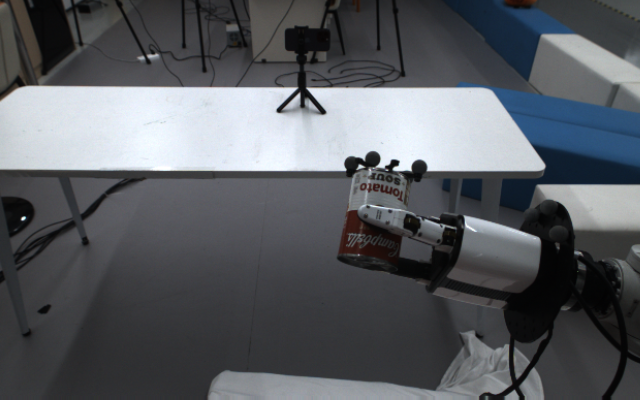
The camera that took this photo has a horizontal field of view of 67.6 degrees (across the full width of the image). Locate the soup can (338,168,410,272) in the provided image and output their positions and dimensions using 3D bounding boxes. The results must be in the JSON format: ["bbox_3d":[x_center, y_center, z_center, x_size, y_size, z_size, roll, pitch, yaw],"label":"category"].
[{"bbox_3d":[0.063,0.021,0.540,0.067,0.067,0.101,9,74,9],"label":"soup can"}]
